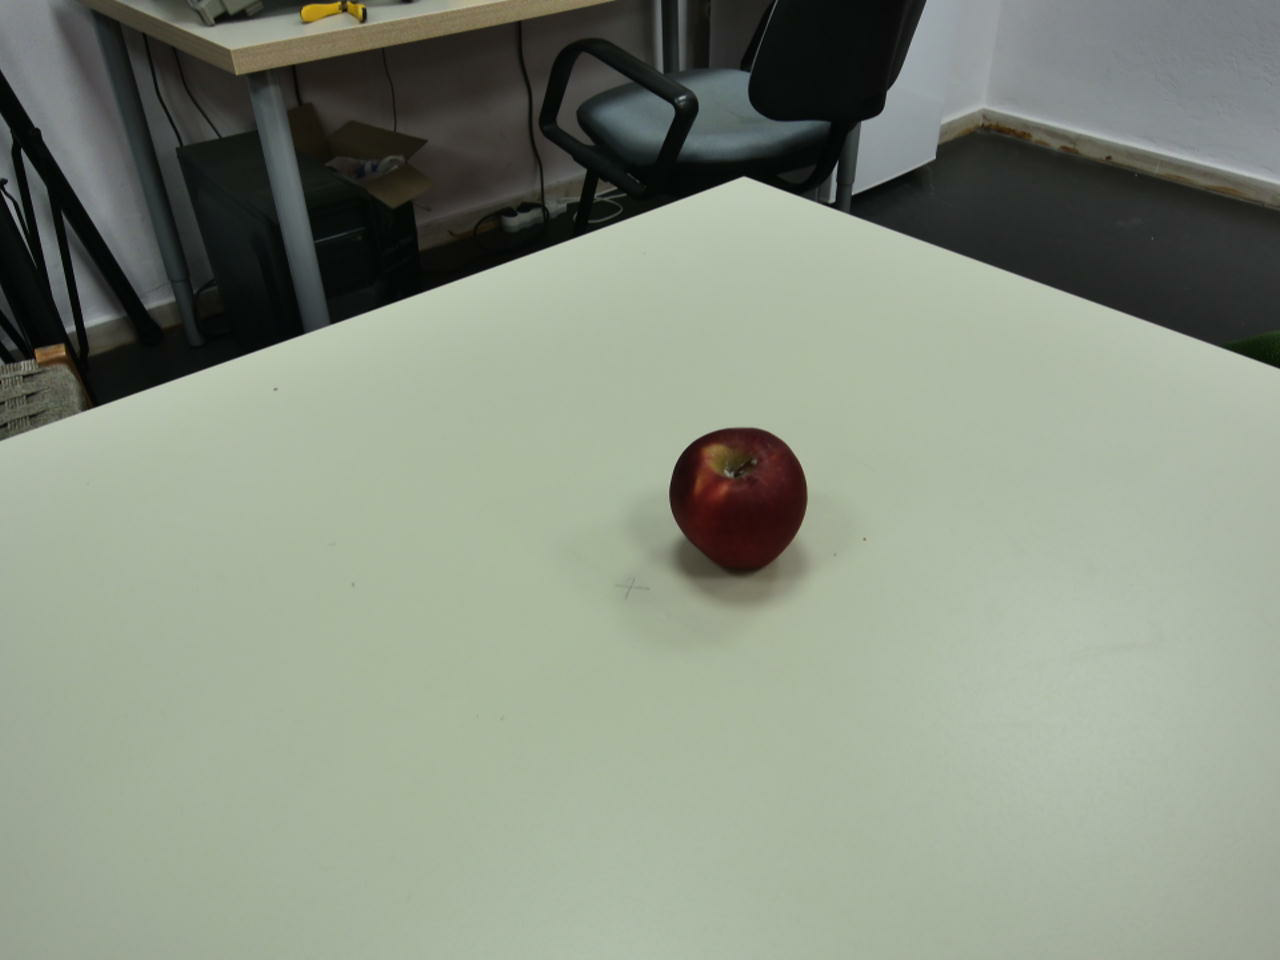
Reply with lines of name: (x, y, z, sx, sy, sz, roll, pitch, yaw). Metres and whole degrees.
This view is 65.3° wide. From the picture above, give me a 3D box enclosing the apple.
apple: (0.050, 0.009, 0.501, 0.070, 0.072, 0.070, 0, 36, 0)
